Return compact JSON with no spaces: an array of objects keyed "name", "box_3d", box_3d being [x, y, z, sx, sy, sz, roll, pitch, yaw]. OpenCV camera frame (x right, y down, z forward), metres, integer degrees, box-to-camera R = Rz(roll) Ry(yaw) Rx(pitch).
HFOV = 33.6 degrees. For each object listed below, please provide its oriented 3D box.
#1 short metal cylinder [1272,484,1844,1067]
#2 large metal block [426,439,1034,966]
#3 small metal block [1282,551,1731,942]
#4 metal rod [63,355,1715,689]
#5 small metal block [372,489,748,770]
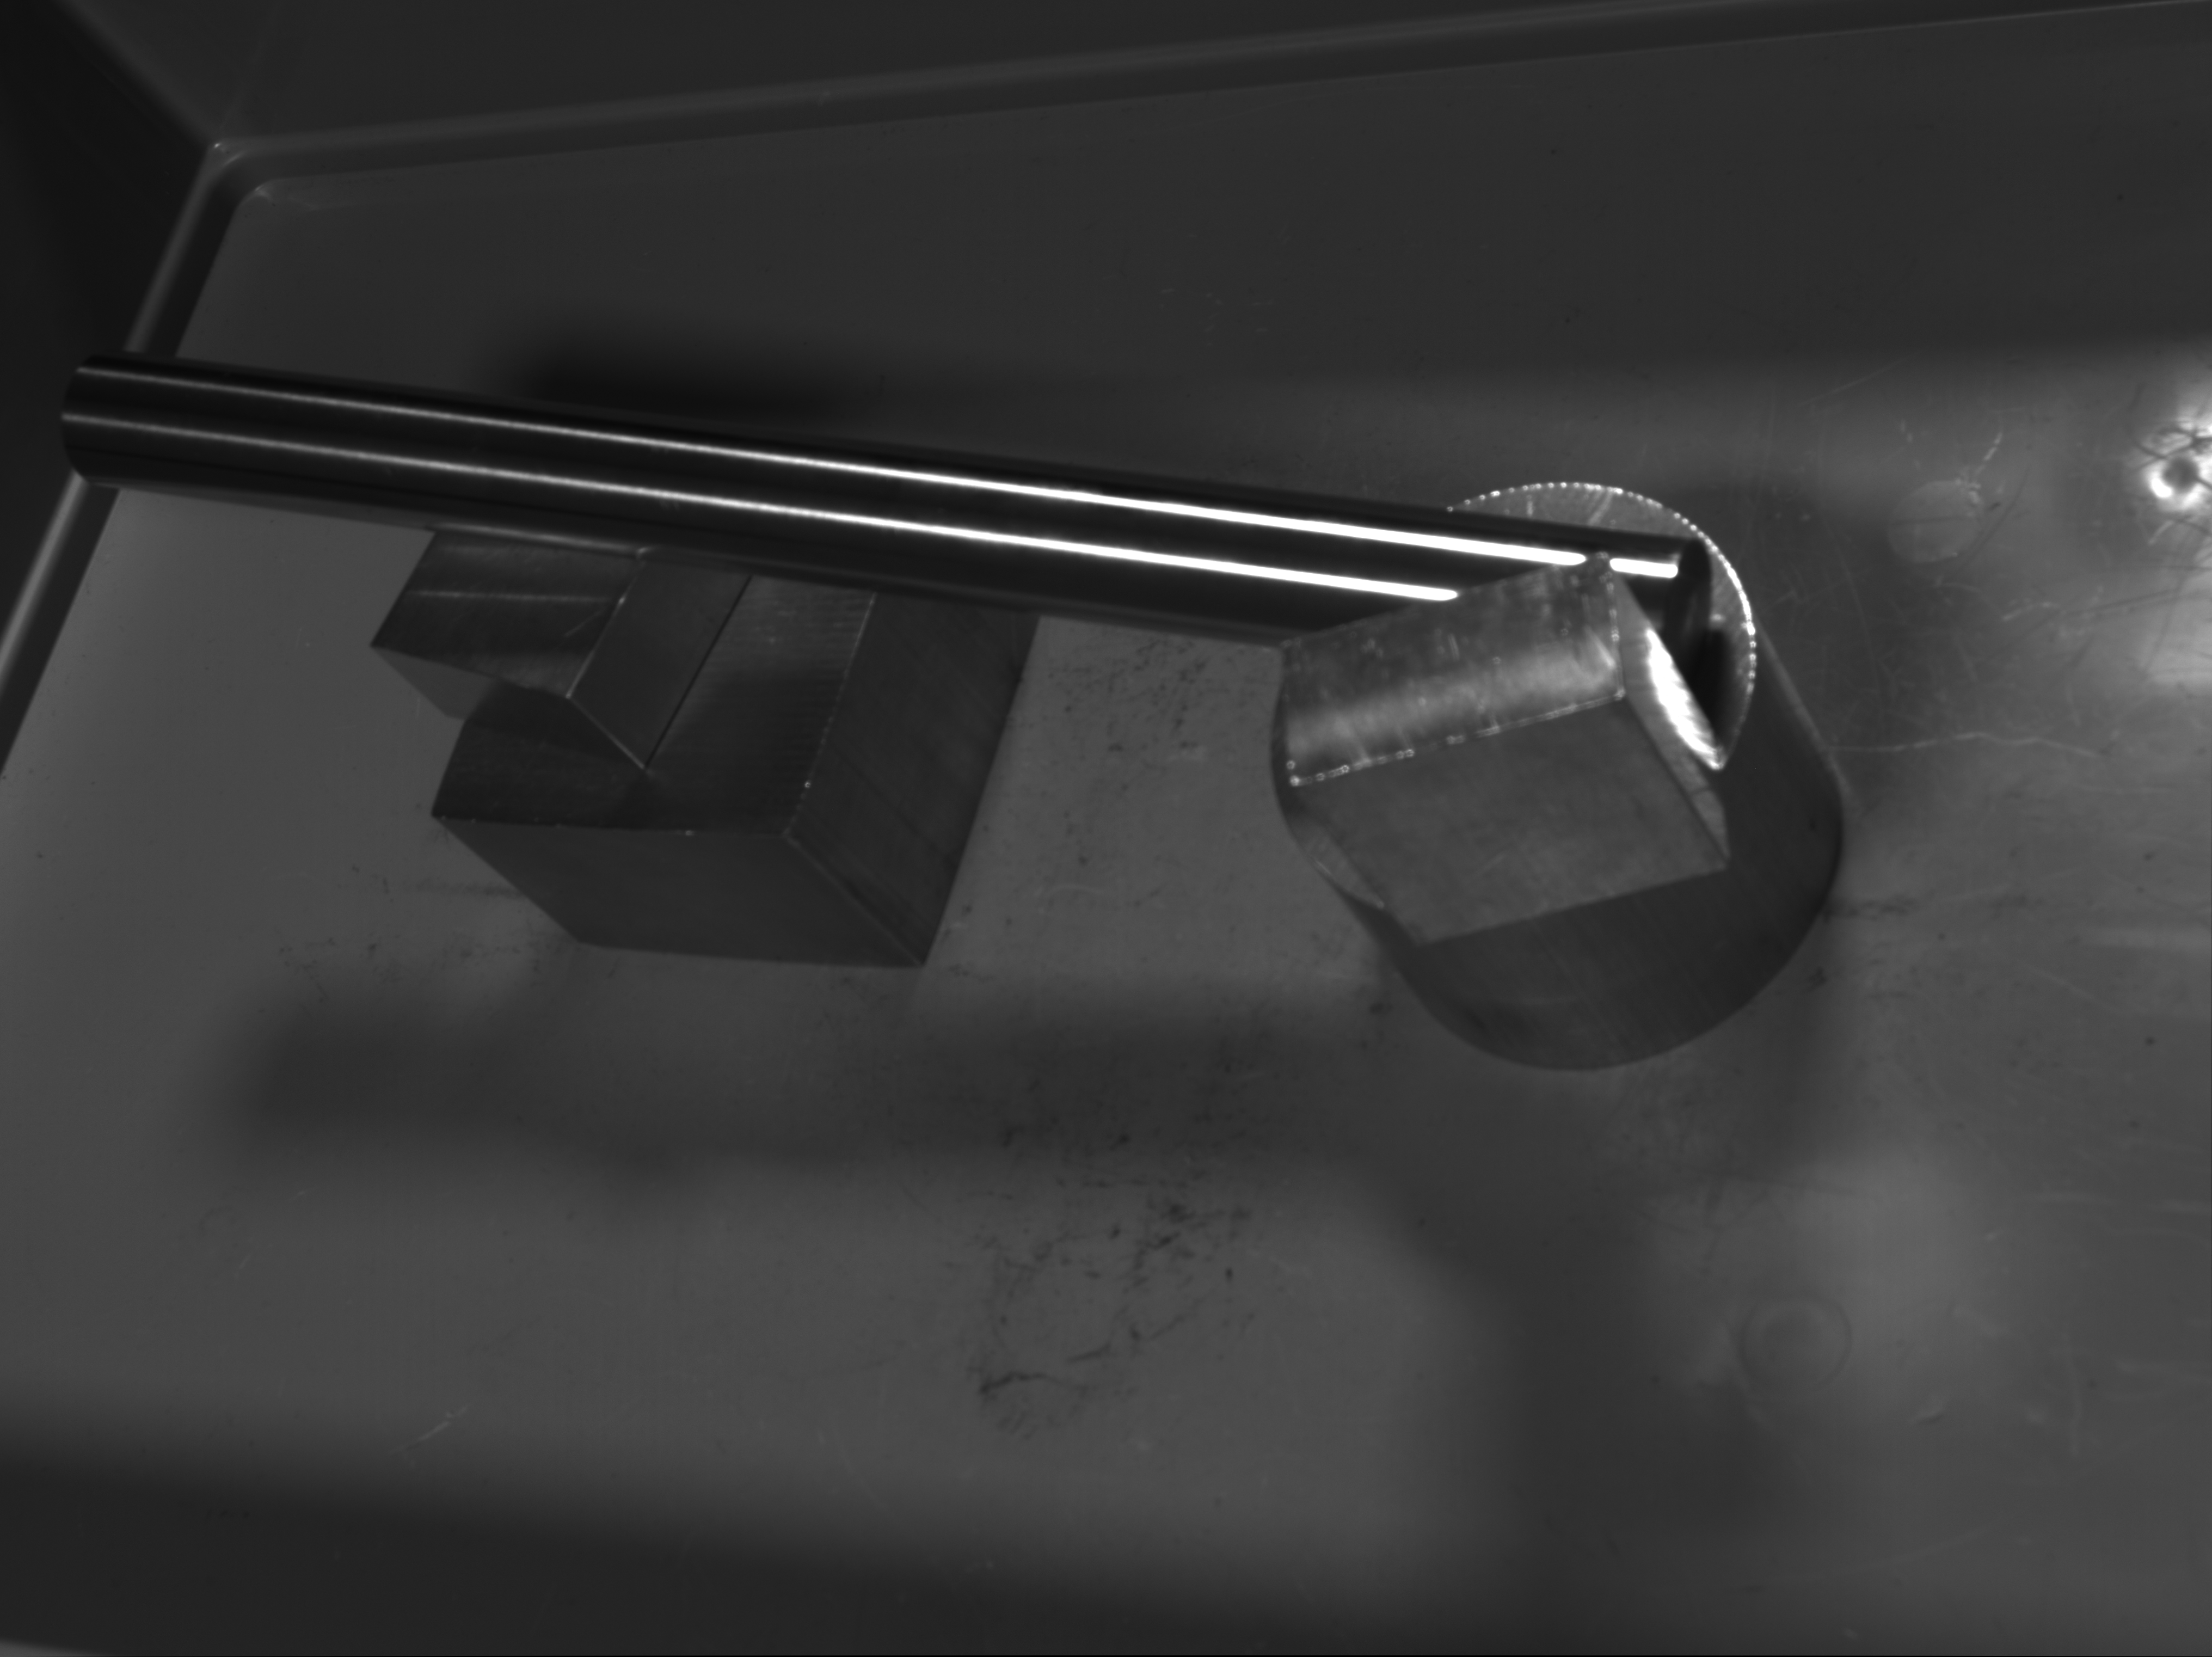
[{"name":"short metal cylinder","box_3d":[0.073,-0.008,0.592,0.080,0.050,0.080,-13,56,21]},{"name":"large metal block","box_3d":[-0.067,-0.024,0.676,0.080,0.050,0.080,3,63,30]},{"name":"small metal block","box_3d":[0.059,-0.011,0.535,0.050,0.050,0.025,-14,56,21]},{"name":"metal rod","box_3d":[-0.047,-0.052,0.610,0.299,0.025,0.025,9,66,24]},{"name":"small metal block","box_3d":[-0.095,-0.043,0.655,0.050,0.025,0.050,14,68,34]}]
